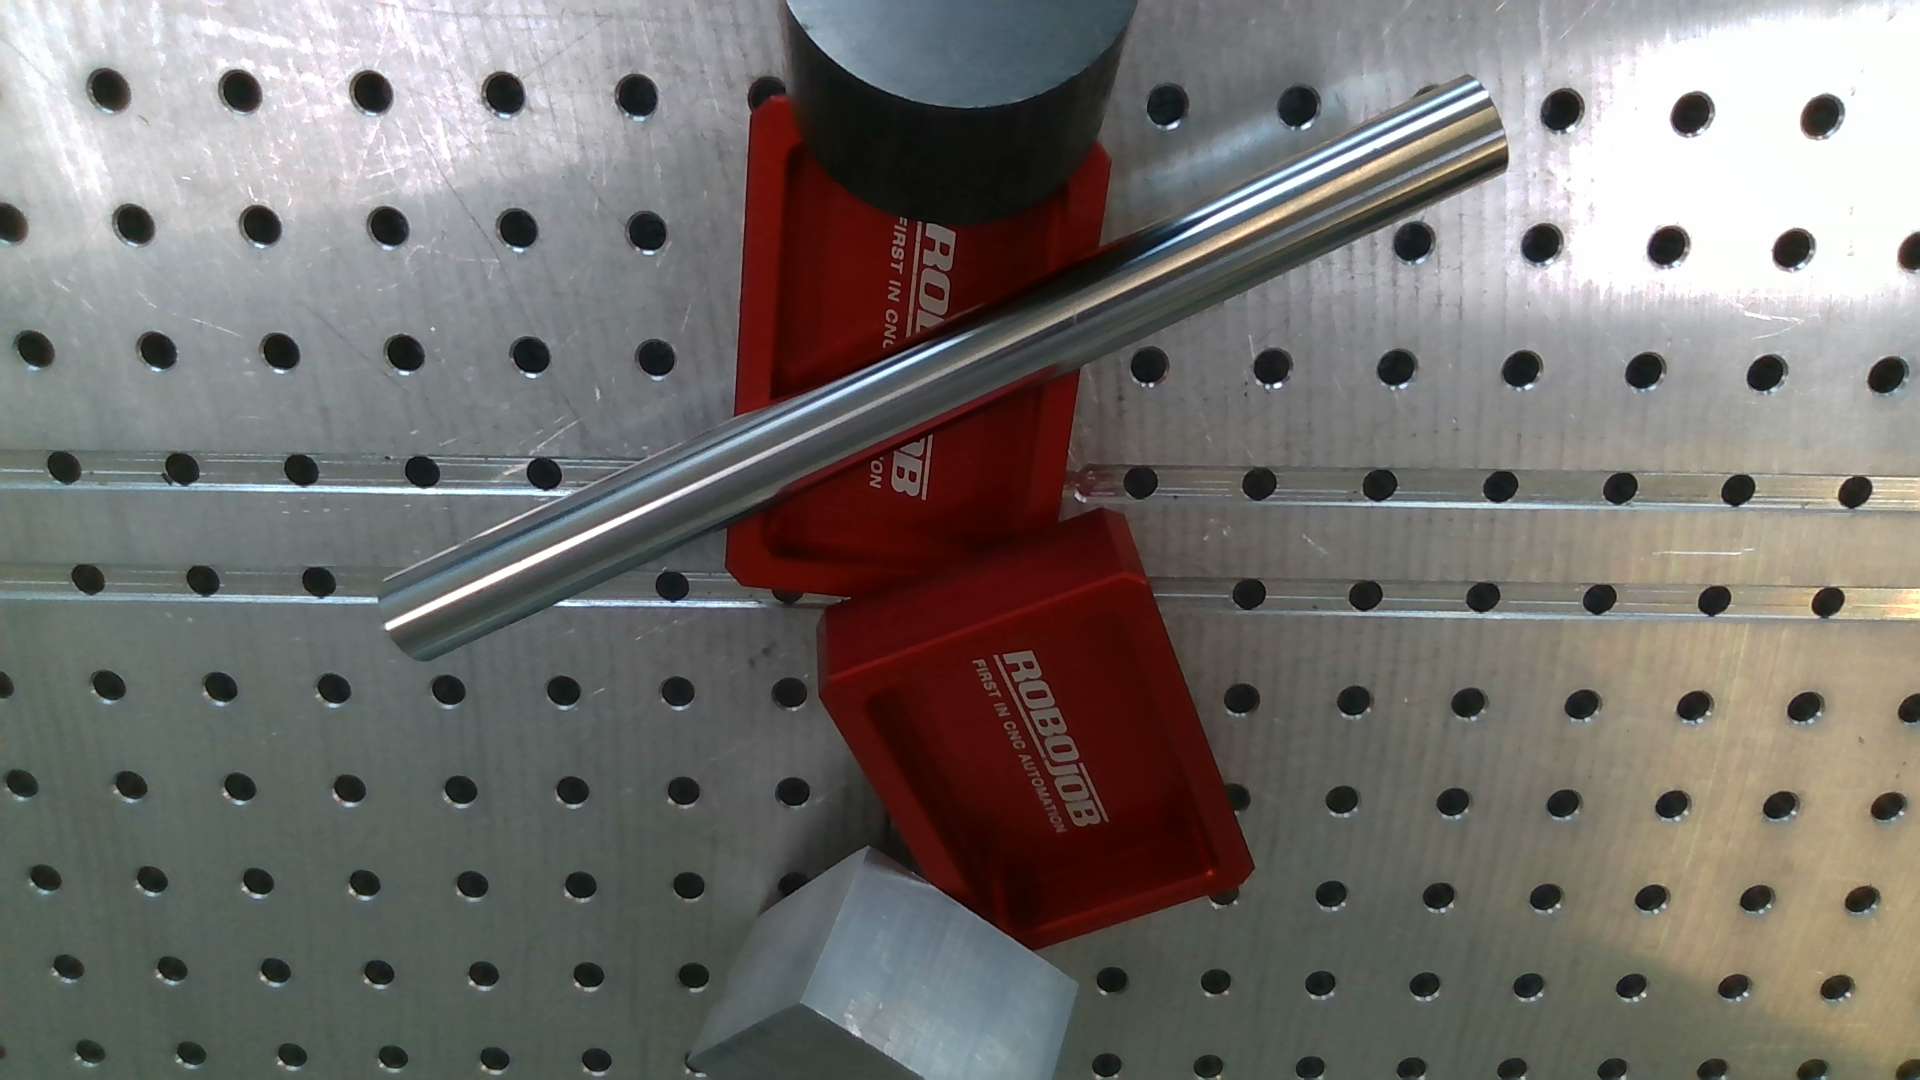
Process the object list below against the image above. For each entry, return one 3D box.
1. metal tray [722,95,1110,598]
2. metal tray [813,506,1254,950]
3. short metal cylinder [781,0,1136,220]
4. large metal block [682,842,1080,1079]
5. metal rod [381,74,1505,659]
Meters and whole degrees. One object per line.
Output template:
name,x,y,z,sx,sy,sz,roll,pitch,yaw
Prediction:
metal tray,-0.014,-0.048,0.375,0.090,0.030,0.130,6,110,-2
metal tray,0.024,0.061,0.396,0.090,0.030,0.130,-20,125,7
short metal cylinder,-0.002,-0.122,0.318,0.080,0.050,0.080,1,75,-3
large metal block,-0.024,0.146,0.418,0.080,0.050,0.080,36,137,-12
metal rod,-0.012,-0.039,0.350,0.300,0.025,0.025,-24,108,8
